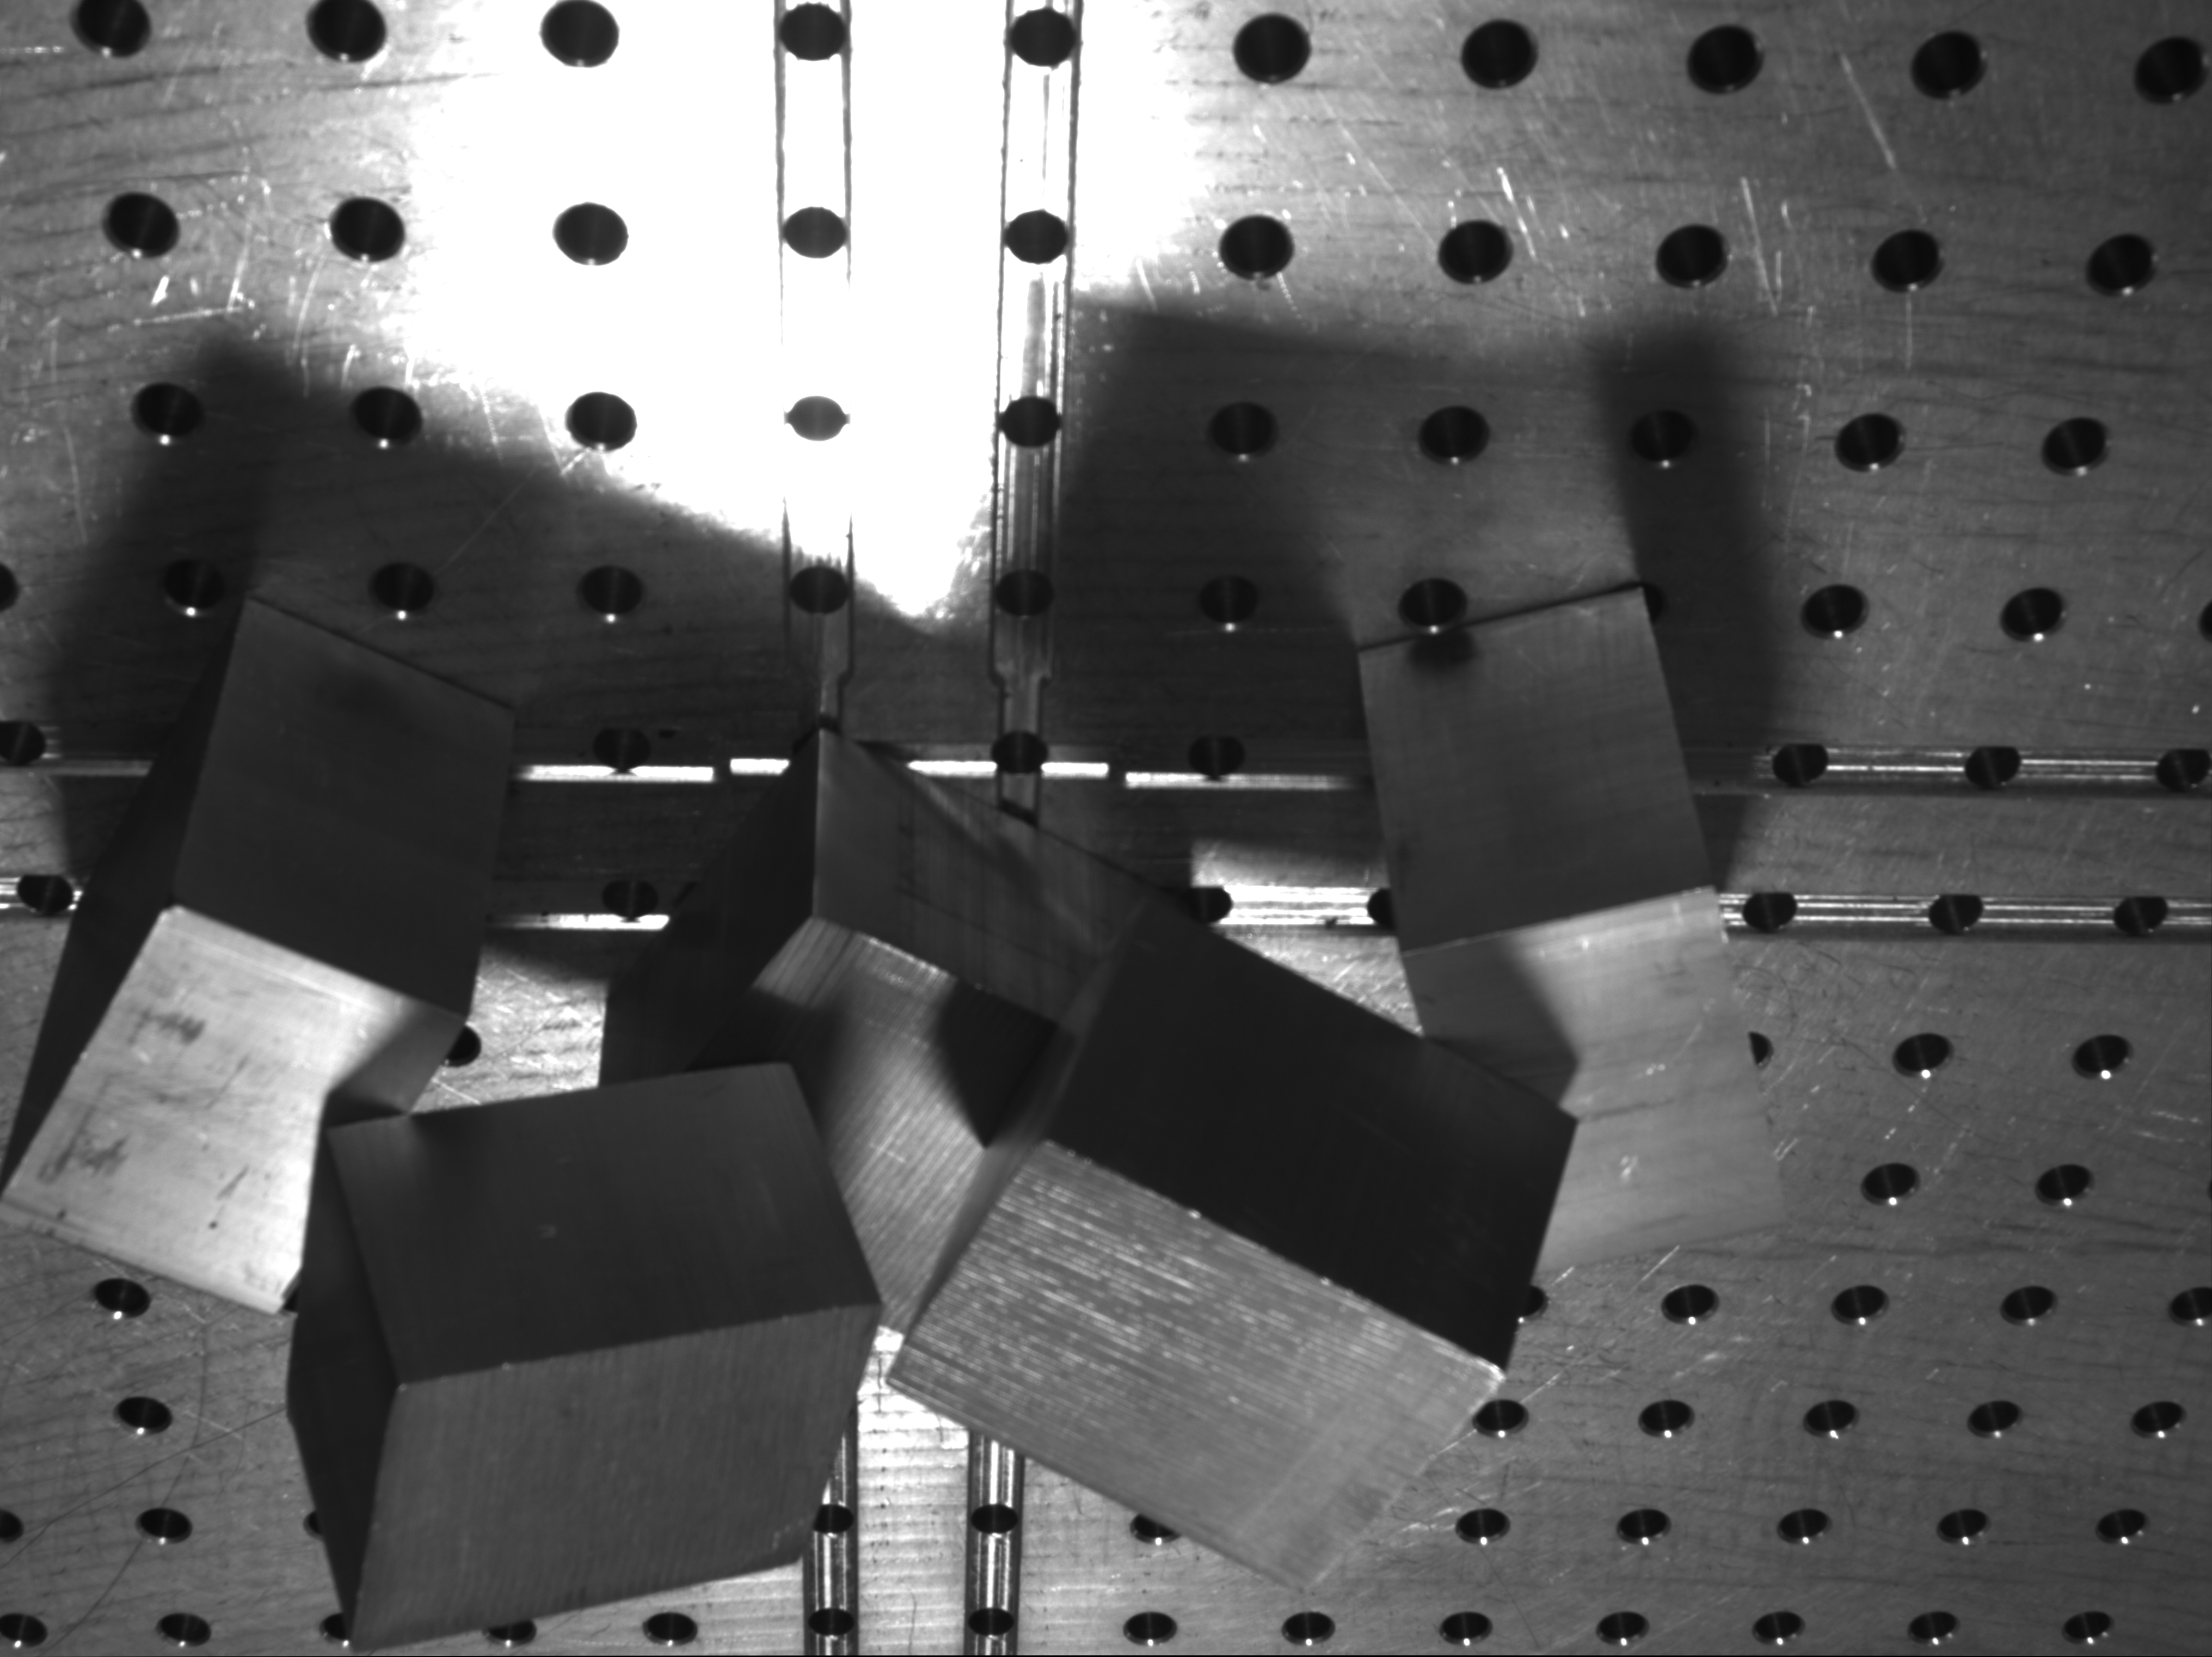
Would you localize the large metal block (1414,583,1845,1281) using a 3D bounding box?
[{"bbox_3d":[0.089,0.019,0.624,0.050,0.080,0.080,-13,129,9],"label":"large metal block"}]

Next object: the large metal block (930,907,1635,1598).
[{"bbox_3d":[0.028,0.070,0.594,0.080,0.050,0.080,27,139,-4],"label":"large metal block"}]

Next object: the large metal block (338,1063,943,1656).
[{"bbox_3d":[-0.080,0.089,0.611,0.080,0.050,0.080,-7,140,-23],"label":"large metal block"}]

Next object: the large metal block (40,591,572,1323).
[{"bbox_3d":[-0.134,0.022,0.619,0.050,0.080,0.080,24,125,-20],"label":"large metal block"}]

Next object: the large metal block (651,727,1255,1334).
[{"bbox_3d":[-0.028,0.041,0.657,0.080,0.050,0.080,26,125,-22],"label":"large metal block"}]
